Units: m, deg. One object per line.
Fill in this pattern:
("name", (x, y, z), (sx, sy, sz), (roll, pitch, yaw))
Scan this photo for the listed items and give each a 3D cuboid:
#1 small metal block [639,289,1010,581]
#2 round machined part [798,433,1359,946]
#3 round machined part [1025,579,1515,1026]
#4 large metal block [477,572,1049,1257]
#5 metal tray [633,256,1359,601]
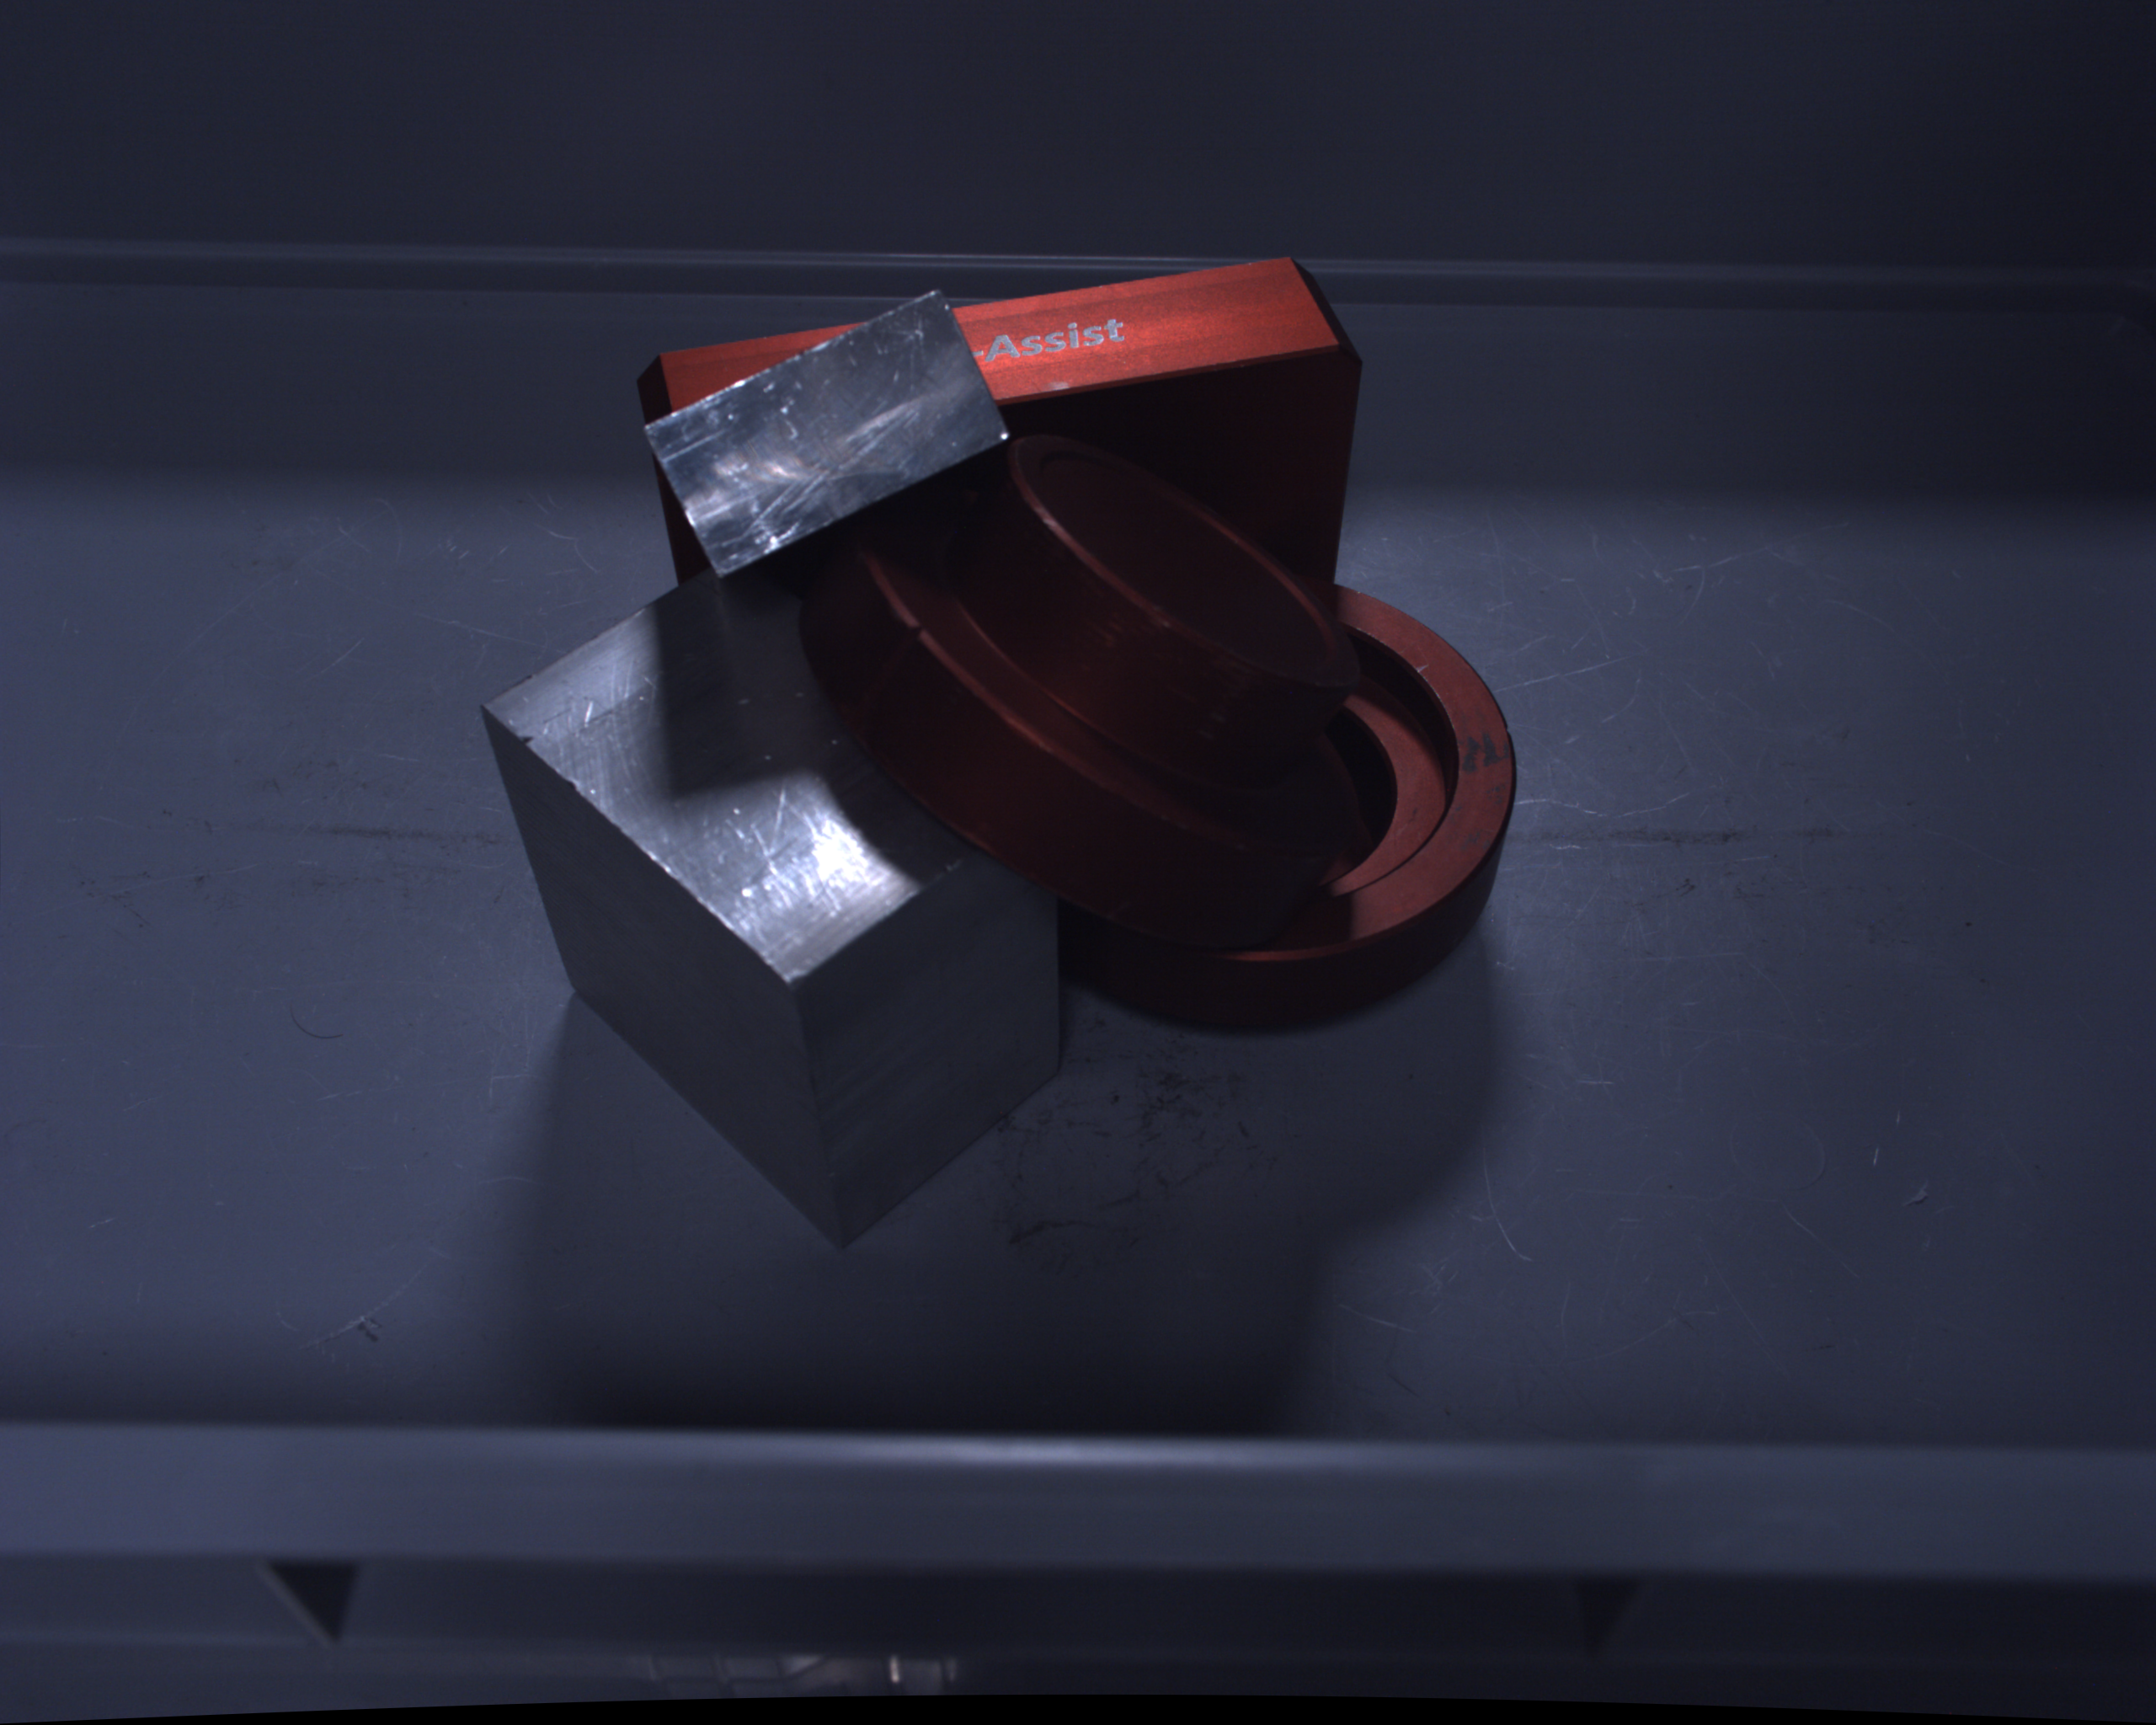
("small metal block", (-0.043, -0.070, 0.341), (0.050, 0.025, 0.050), (-27, 16, -6))
("round machined part", (0.007, -0.034, 0.346), (0.098, 0.042, 0.098), (30, 24, -15))
("round machined part", (0.031, -0.008, 0.401), (0.099, 0.042, 0.098), (0, 50, 0))
("large metal block", (-0.051, 0.008, 0.361), (0.050, 0.080, 0.080), (-37, 59, -27))
("metal tray", (-0.015, -0.066, 0.415), (0.131, 0.089, 0.030), (-12, 52, -10))
